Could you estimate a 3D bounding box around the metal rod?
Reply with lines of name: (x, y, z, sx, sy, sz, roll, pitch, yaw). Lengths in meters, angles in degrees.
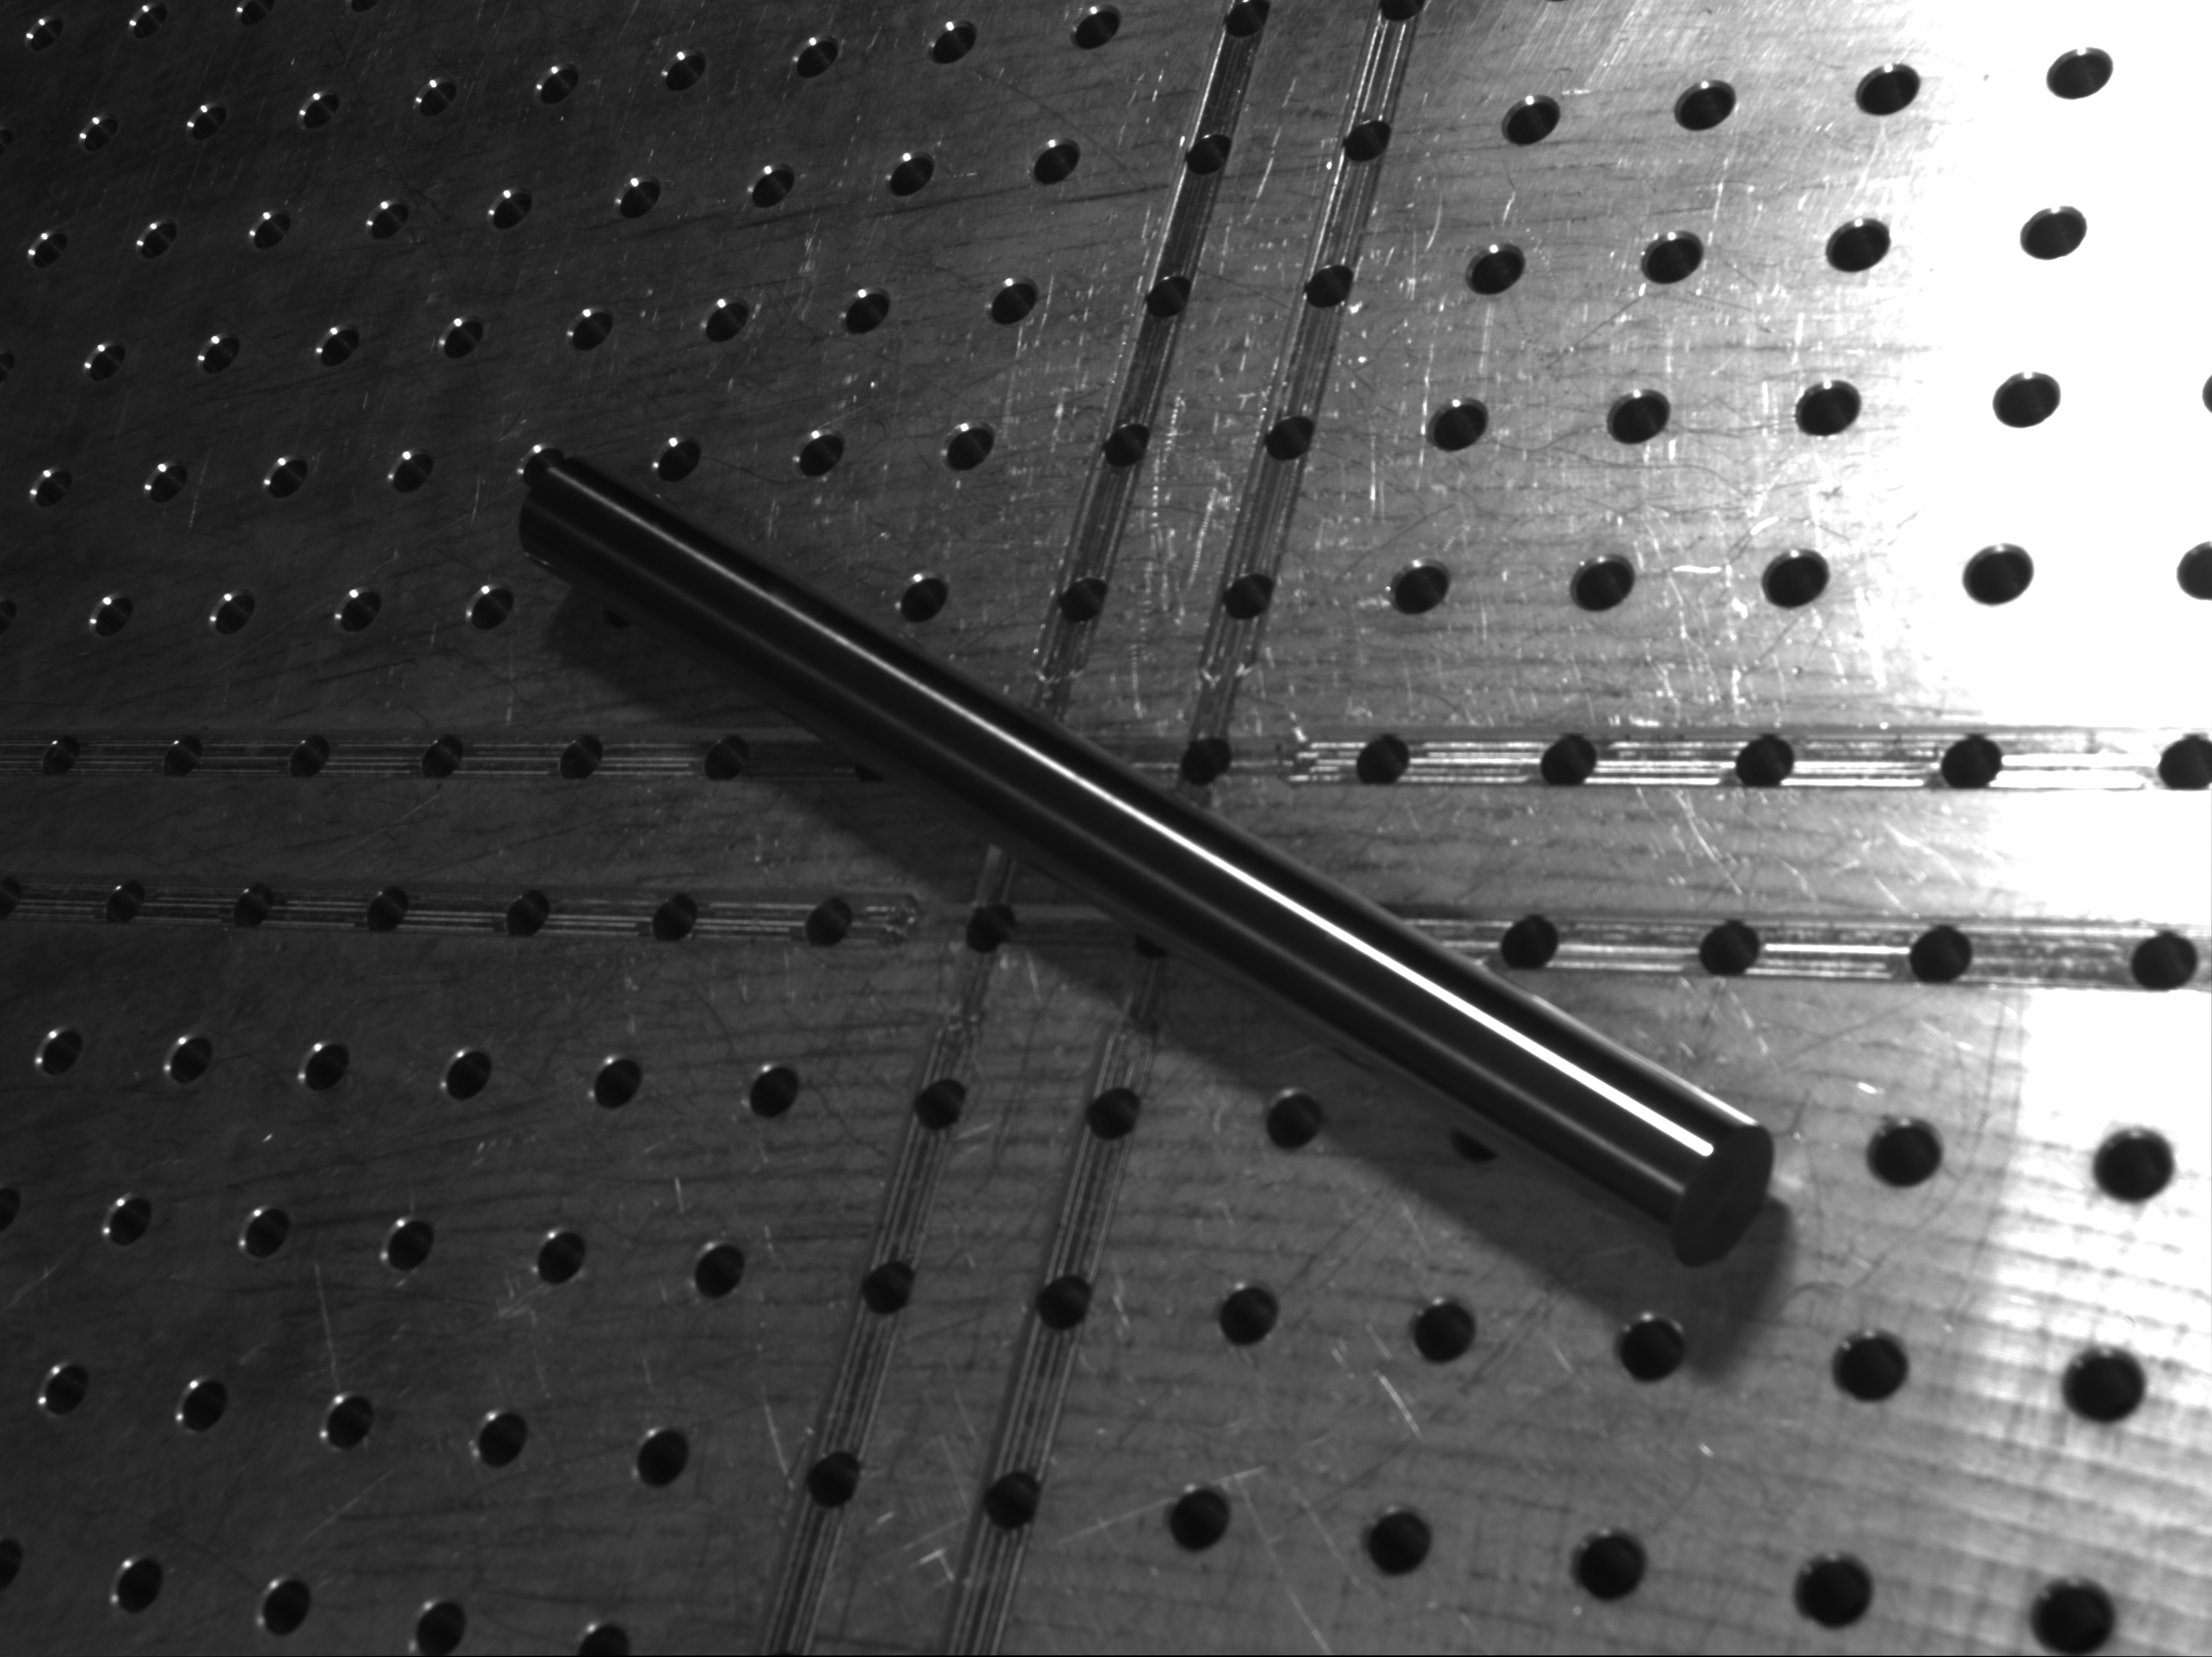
metal rod: (-0.005, -0.003, 0.652, 0.299, 0.025, 0.025, 31, 79, 38)
